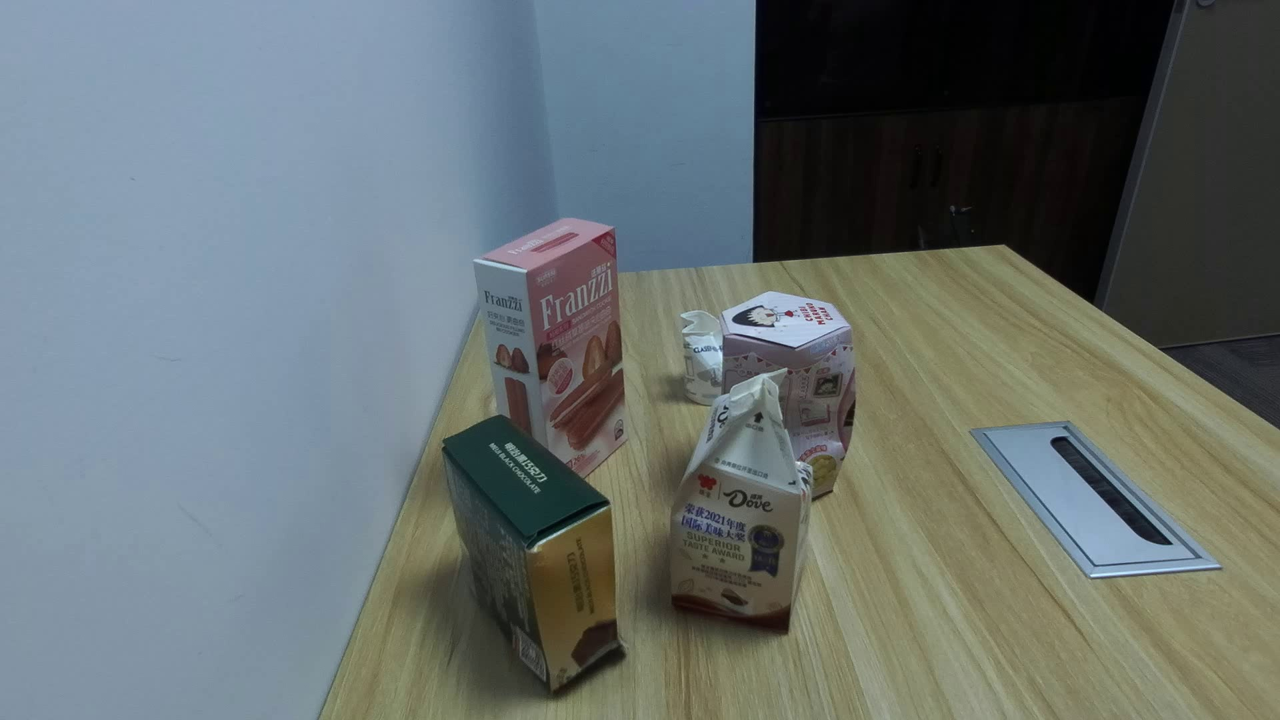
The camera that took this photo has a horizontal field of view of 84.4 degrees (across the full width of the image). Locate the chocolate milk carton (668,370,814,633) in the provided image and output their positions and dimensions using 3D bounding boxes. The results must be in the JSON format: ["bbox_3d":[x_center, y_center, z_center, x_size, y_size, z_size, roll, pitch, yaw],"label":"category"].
[{"bbox_3d":[0.062,0.070,0.402,0.073,0.156,0.076,8,30,18],"label":"chocolate milk carton"}]

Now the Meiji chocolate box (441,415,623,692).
[{"bbox_3d":[-0.063,0.107,0.401,0.059,0.116,0.122,-20,30,-30],"label":"Meiji chocolate box"}]

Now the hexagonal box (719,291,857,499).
[{"bbox_3d":[0.098,0.031,0.491,0.093,0.135,0.088,-23,34,-31],"label":"hexagonal box"}]

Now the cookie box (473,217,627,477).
[{"bbox_3d":[-0.058,0.001,0.515,0.048,0.185,0.096,16,34,29],"label":"cookie box"}]
